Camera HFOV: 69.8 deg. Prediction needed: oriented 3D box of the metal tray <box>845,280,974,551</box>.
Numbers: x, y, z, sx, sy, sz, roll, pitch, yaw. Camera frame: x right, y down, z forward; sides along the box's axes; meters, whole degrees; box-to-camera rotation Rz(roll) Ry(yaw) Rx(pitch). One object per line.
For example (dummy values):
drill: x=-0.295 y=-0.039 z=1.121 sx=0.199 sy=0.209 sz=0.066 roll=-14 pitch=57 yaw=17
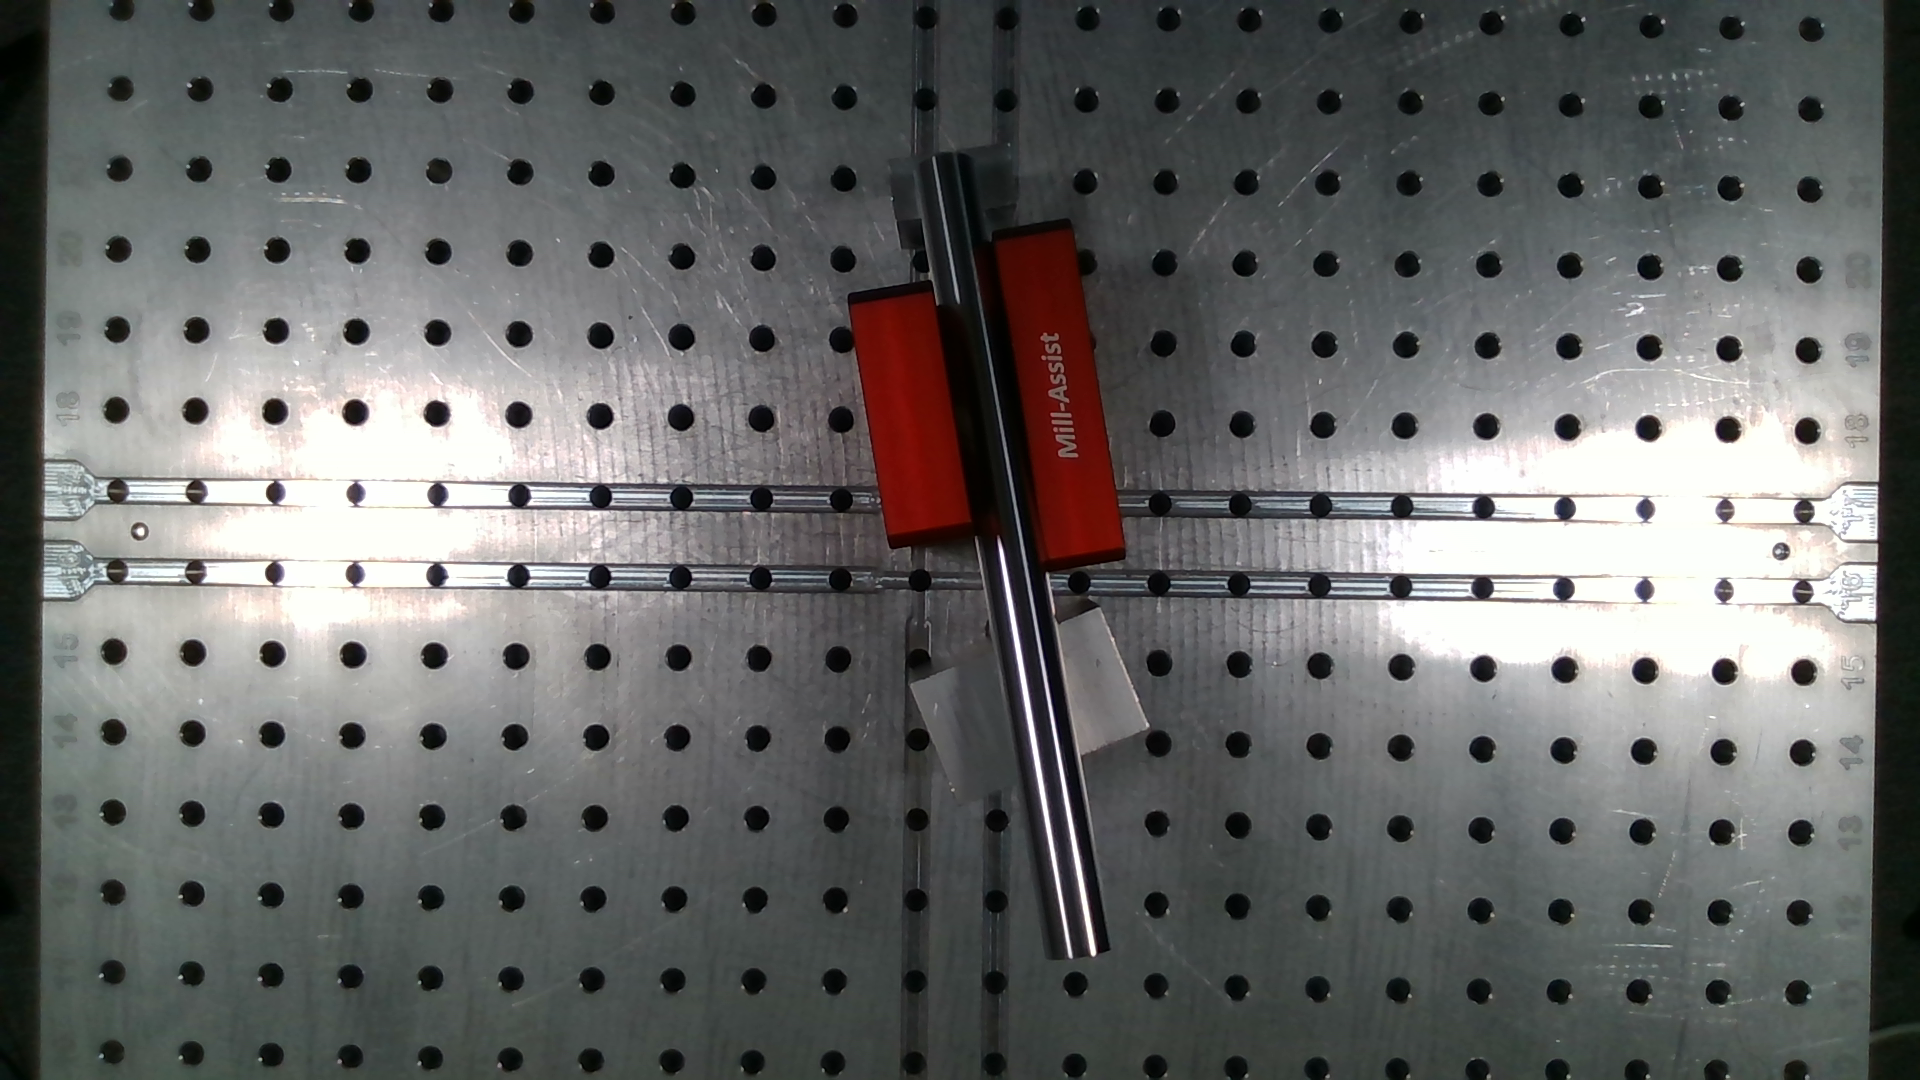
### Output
metal tray: x=-0.017 y=-0.043 z=0.536 sx=0.030 sy=0.130 sz=0.090 roll=-10 pitch=90 yaw=0

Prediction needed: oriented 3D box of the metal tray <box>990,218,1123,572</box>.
metal tray: x=0.037 y=-0.054 z=0.556 sx=0.030 sy=0.090 sz=0.130 roll=-9 pitch=90 yaw=1

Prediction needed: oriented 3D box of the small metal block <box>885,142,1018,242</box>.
small metal block: x=-0.004 y=-0.143 z=0.575 sx=0.050 sy=0.050 sz=0.025 roll=-8 pitch=90 yaw=0

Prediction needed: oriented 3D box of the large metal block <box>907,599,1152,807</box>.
large metal block: x=0.026 y=0.063 z=0.561 sx=0.080 sy=0.080 sz=0.050 roll=-23 pitch=90 yaw=0

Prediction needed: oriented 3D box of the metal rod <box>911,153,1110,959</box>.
metal rod: x=0.017 y=0.001 z=0.514 sx=0.025 sy=0.025 sz=0.300 roll=-9 pitch=81 yaw=0
